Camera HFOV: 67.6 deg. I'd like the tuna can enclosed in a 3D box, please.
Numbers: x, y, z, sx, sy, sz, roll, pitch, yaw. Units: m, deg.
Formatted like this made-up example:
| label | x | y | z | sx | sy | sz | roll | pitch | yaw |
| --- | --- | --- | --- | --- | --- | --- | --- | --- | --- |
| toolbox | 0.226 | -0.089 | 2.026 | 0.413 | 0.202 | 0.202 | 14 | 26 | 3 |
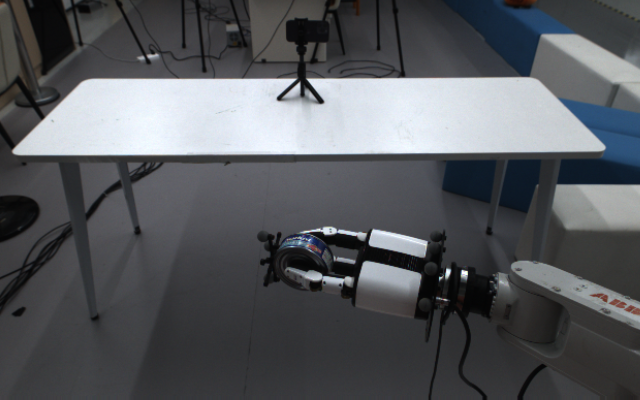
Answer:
| label | x | y | z | sx | sy | sz | roll | pitch | yaw |
| --- | --- | --- | --- | --- | --- | --- | --- | --- | --- |
| tuna can | -0.022 | 0.090 | 0.715 | 0.085 | 0.085 | 0.034 | 9 | 33 | 10 |
